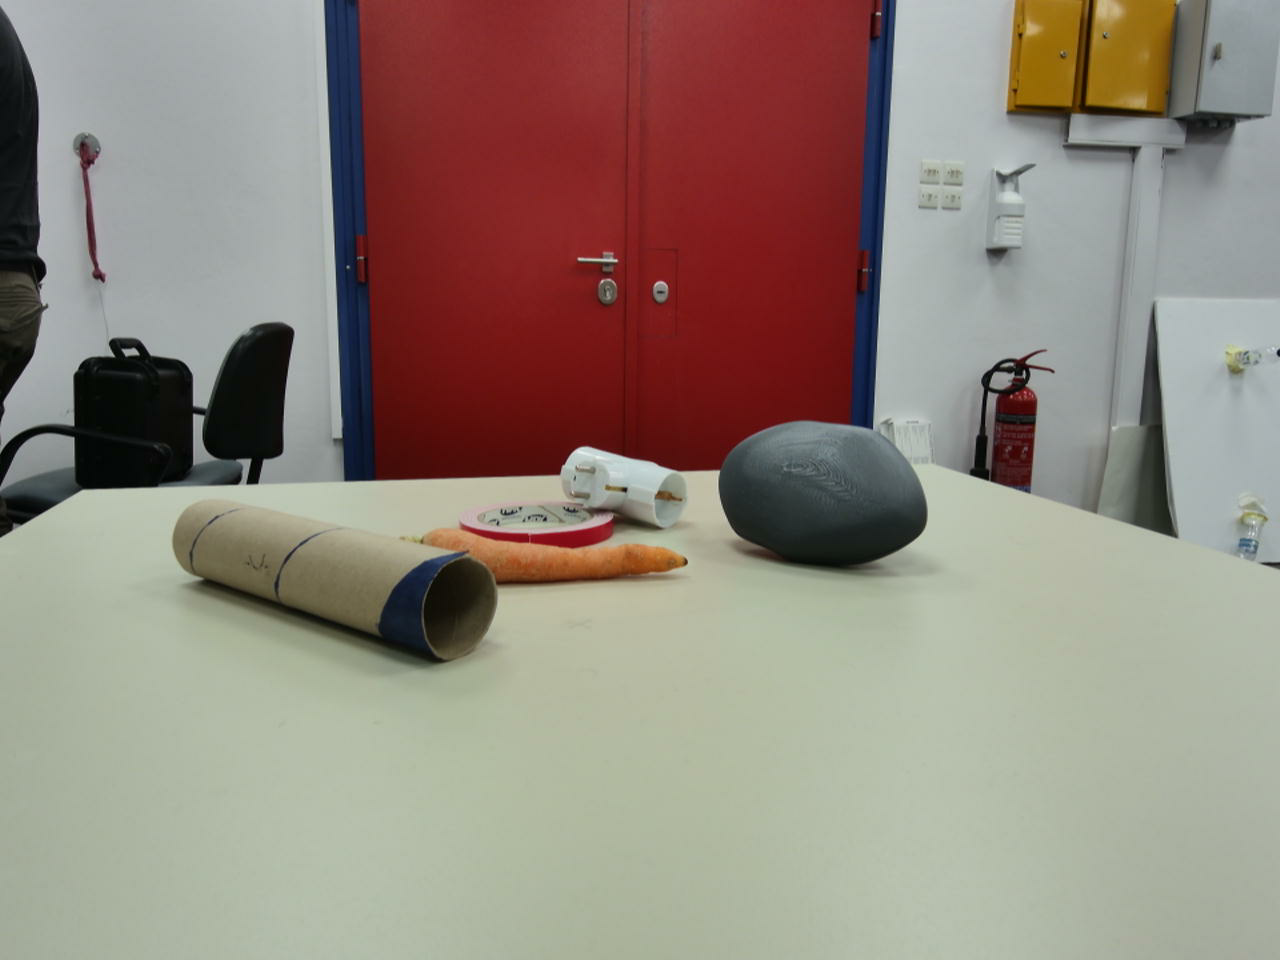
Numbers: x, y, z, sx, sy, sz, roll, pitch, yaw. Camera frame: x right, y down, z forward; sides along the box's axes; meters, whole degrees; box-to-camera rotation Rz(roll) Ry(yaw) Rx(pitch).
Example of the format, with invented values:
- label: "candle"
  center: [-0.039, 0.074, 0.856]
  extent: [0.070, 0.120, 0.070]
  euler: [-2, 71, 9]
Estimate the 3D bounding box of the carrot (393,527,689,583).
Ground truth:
- label: "carrot"
  center: [-0.056, 0.044, 0.587]
  extent: [0.173, 0.032, 0.030]
  euler: [0, 8, -4]
